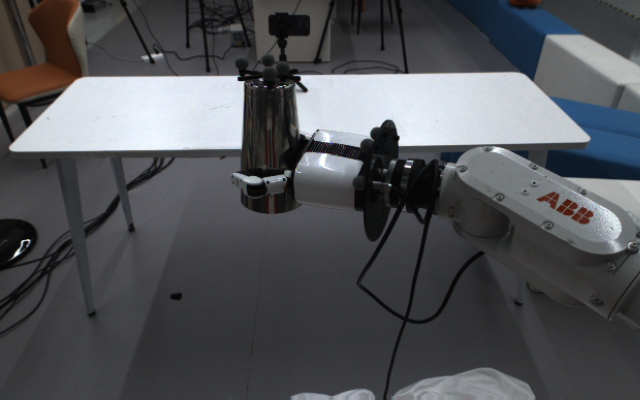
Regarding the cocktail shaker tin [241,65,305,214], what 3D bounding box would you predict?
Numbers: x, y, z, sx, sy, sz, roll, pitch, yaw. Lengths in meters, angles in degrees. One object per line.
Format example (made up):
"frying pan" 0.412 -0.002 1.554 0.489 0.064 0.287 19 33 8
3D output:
"cocktail shaker tin" -0.066 -0.078 0.661 0.093 0.170 0.093 1 28 -1
